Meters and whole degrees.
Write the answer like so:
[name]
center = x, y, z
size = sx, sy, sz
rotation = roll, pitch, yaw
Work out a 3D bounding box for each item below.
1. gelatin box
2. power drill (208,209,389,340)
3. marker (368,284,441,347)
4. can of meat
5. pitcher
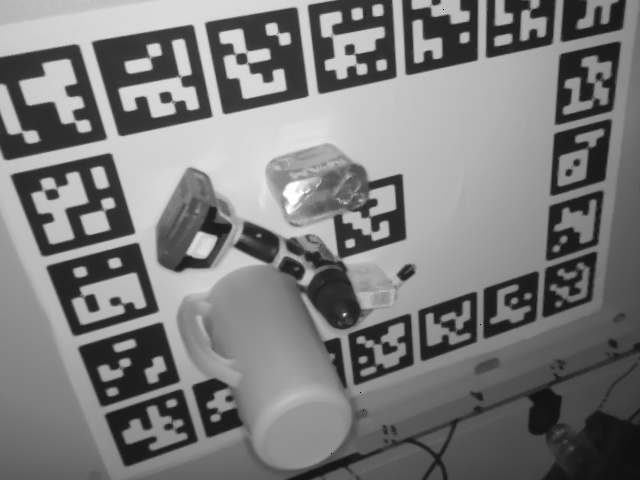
[gelatin box]
center = 0.063, 0.076, 0.882
size = 0.090, 0.073, 0.030
rotation = -4, 112, -17
[power drill]
center = -0.024, 0.037, 0.766
size = 0.188, 0.184, 0.057
rotation = 21, 104, -21
[marker]
center = 0.114, 0.100, 0.940
size = 0.121, 0.019, 0.020
rotation = -38, 121, -1
[can of meat]
center = 0.019, -0.055, 0.792
size = 0.103, 0.083, 0.057
rotation = -15, 121, -12
[pitcher]
center = -0.050, 0.149, 0.783
size = 0.191, 0.241, 0.132
rotation = 15, 106, -32
